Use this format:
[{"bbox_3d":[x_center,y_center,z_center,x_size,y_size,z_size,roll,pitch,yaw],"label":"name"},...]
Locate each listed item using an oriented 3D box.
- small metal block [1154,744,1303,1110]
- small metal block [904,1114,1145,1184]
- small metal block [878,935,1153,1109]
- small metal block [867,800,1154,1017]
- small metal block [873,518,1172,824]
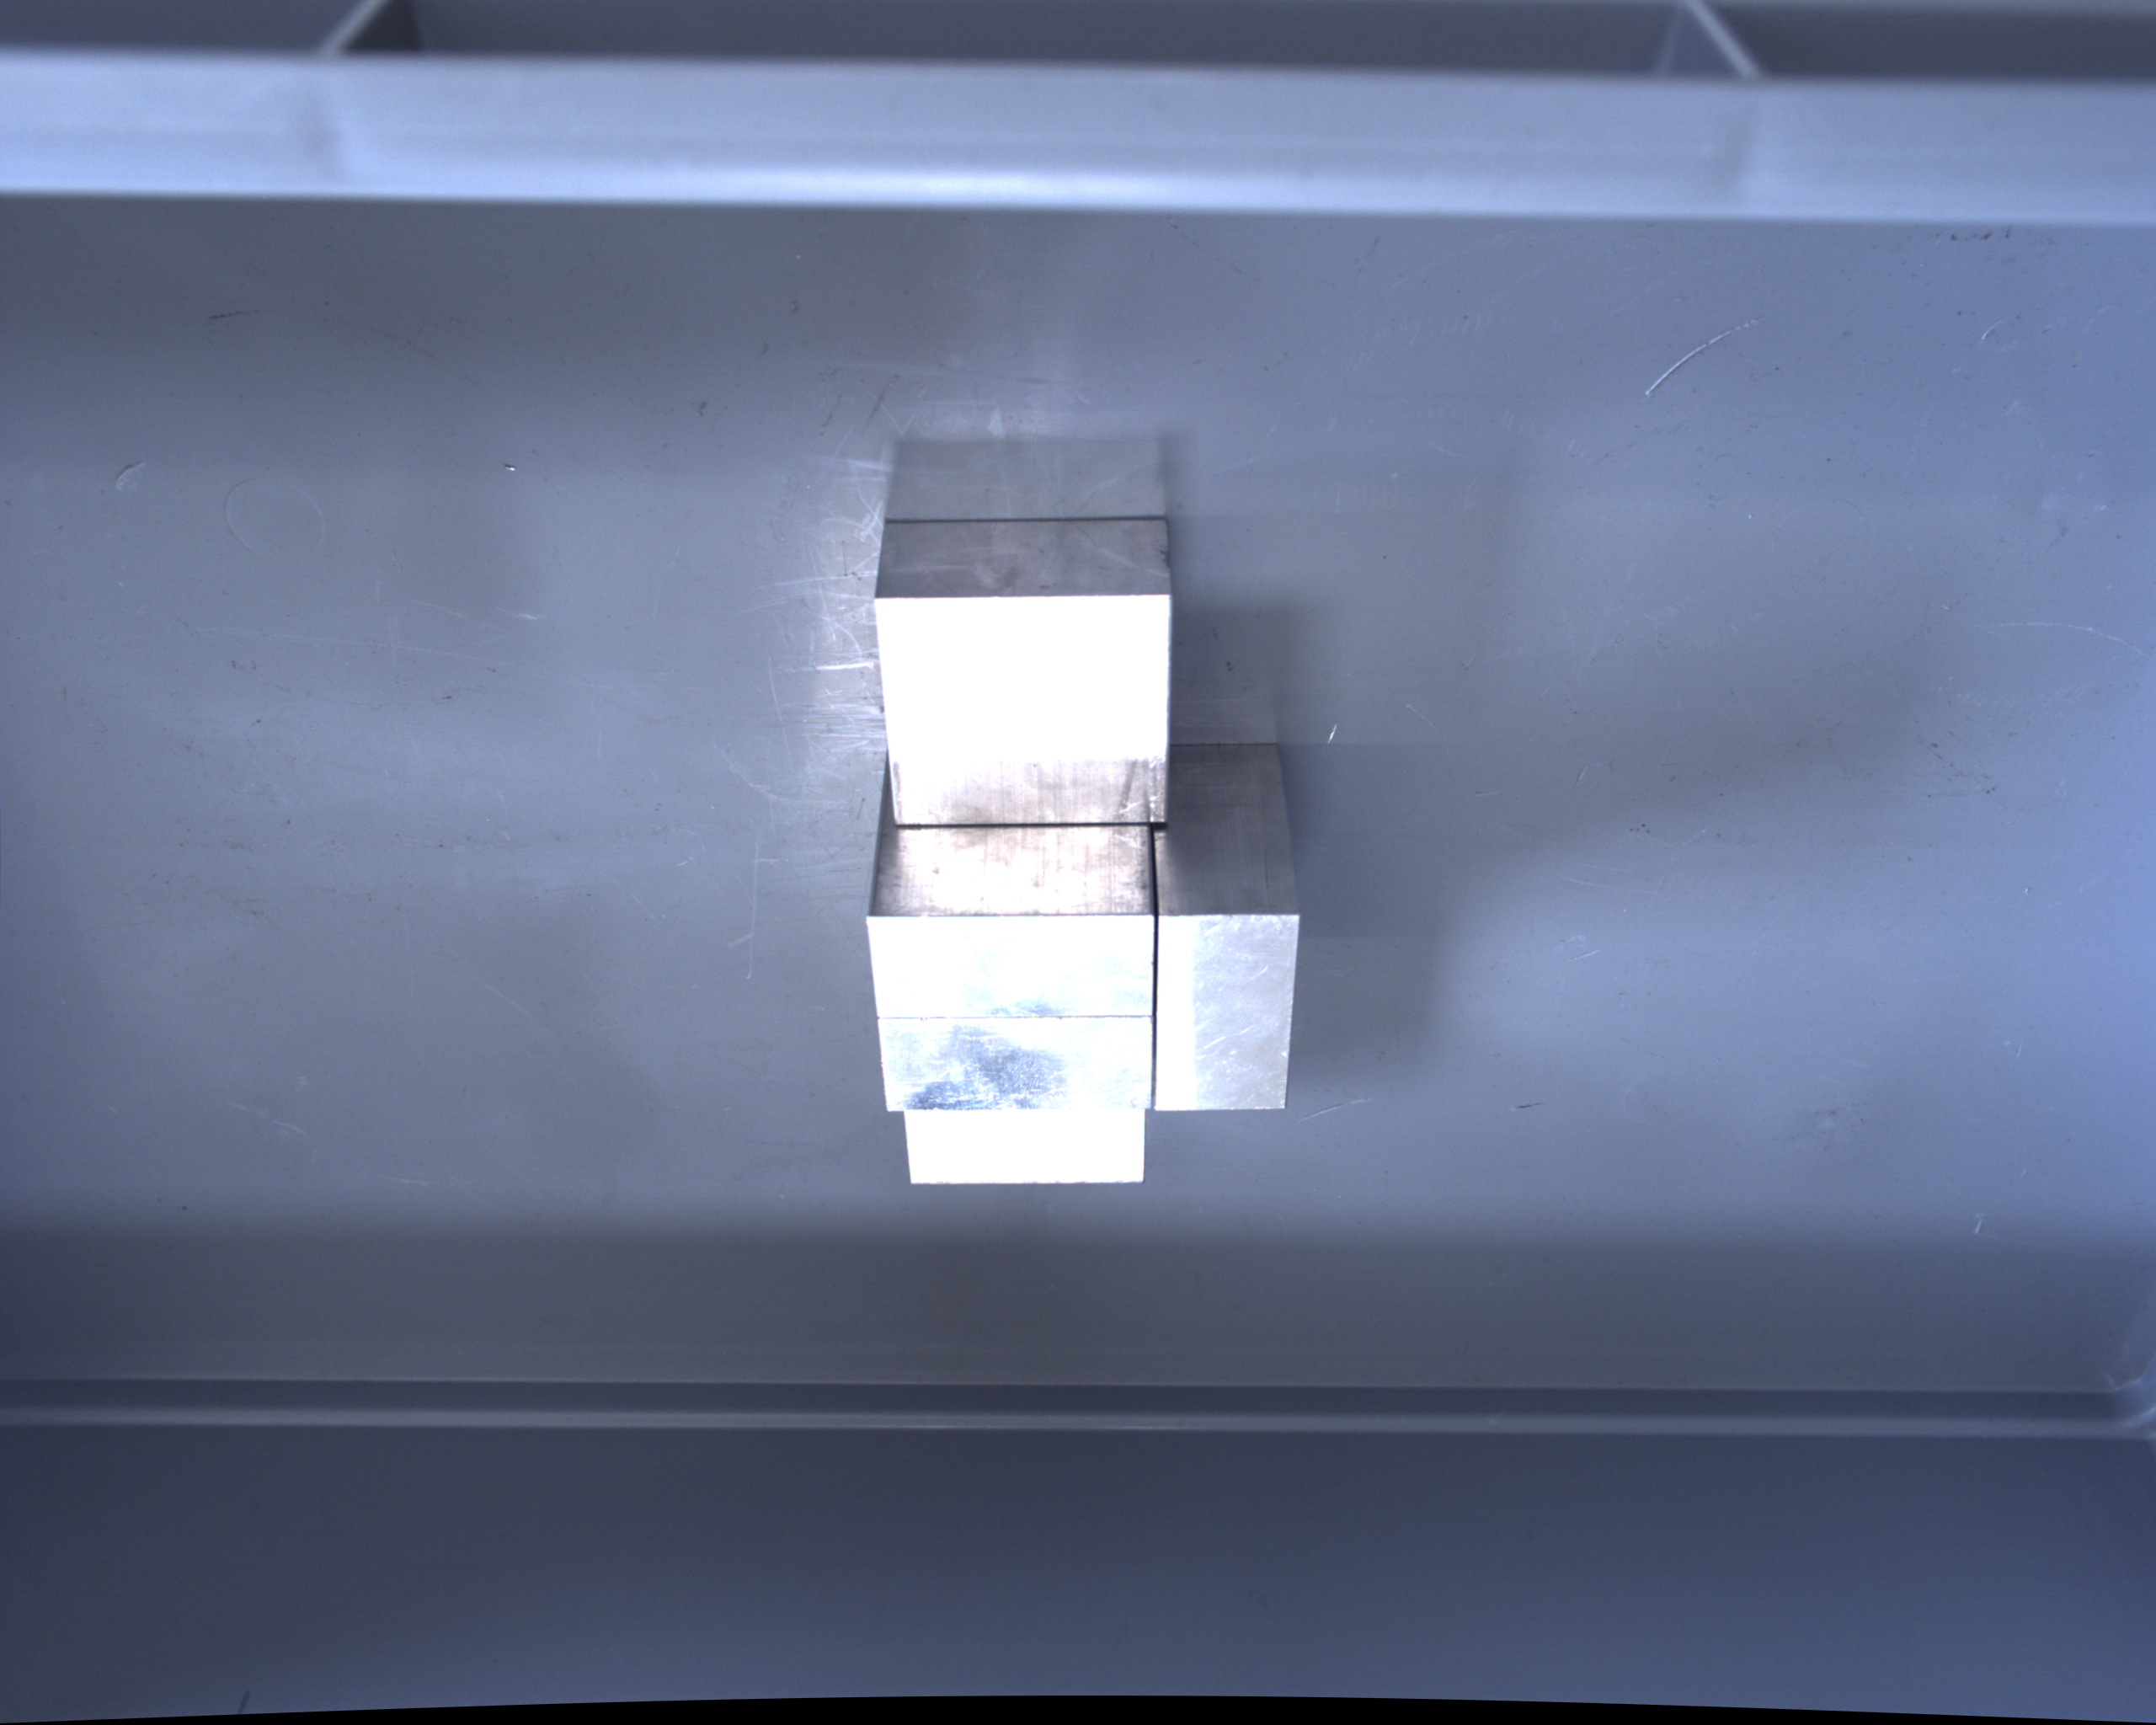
[{"bbox_3d":[0.027,0.012,0.401,0.025,0.050,0.050,0,130,0],"label":"small metal block"},{"bbox_3d":[-0.011,0.042,0.442,0.050,0.025,0.050,0,130,0],"label":"small metal block"},{"bbox_3d":[-0.011,0.021,0.408,0.050,0.050,0.025,0,130,0],"label":"small metal block"},{"bbox_3d":[-0.012,0.003,0.392,0.050,0.050,0.025,0,130,0],"label":"small metal block"},{"bbox_3d":[-0.009,-0.034,0.377,0.050,0.025,0.050,0,130,0],"label":"small metal block"}]
